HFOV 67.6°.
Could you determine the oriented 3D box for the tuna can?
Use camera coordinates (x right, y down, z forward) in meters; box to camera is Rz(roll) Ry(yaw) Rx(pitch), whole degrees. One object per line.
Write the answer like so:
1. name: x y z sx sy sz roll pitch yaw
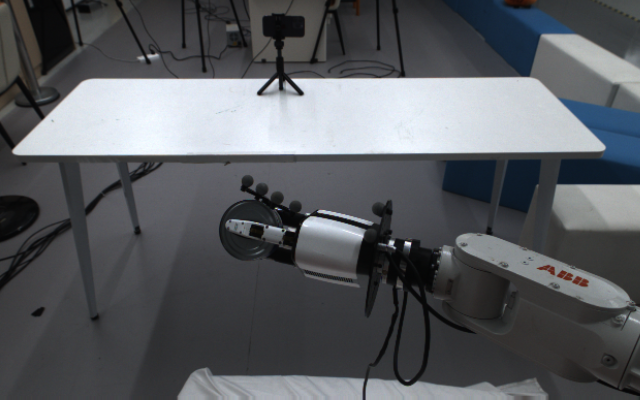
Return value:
1. tuna can: -0.095 0.043 0.682 0.085 0.085 0.034 10 -4 11
